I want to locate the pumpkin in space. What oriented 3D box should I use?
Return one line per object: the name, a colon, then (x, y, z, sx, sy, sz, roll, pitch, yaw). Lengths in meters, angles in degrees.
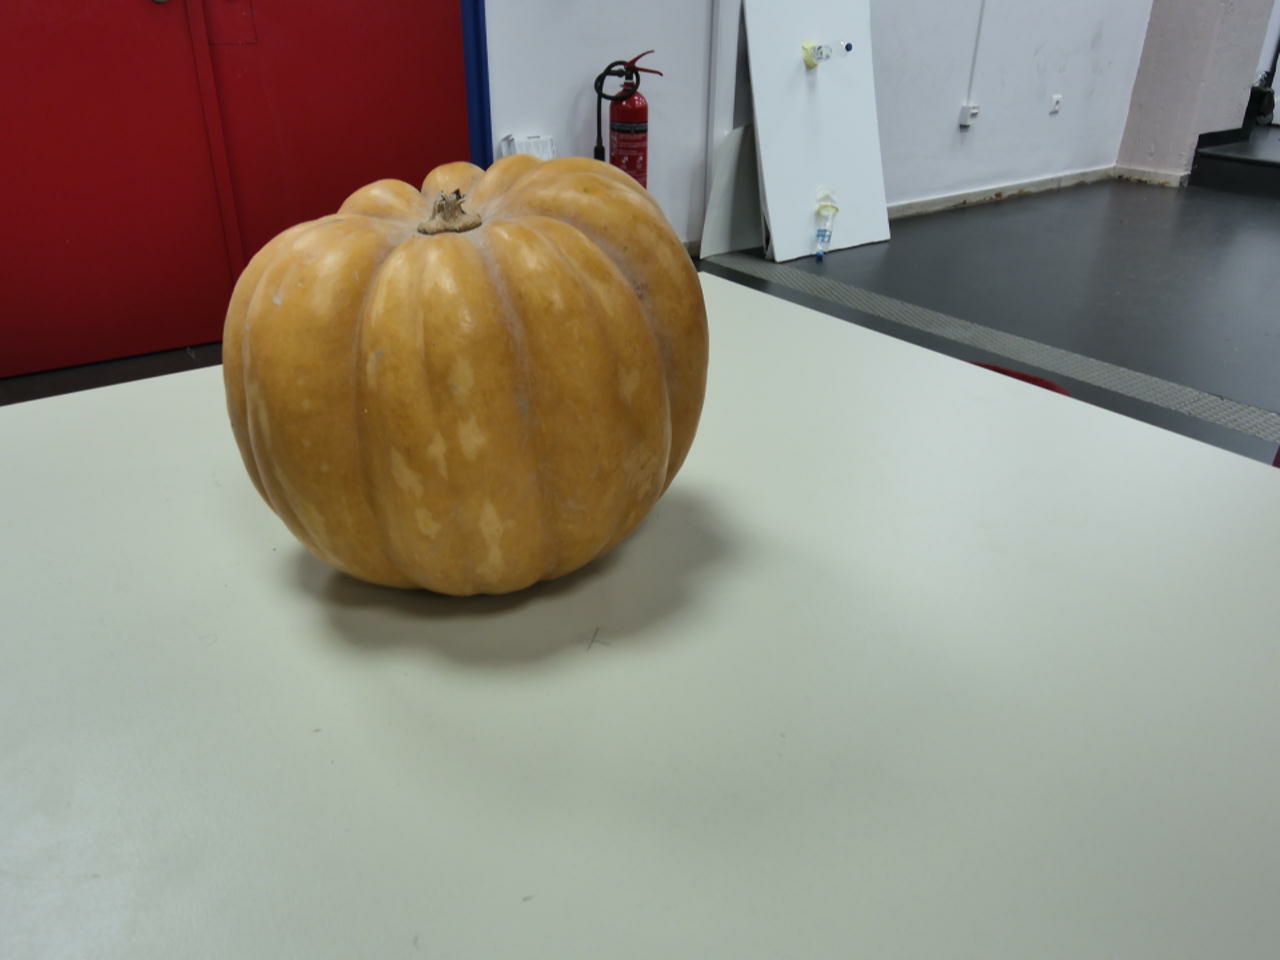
pumpkin: (-0.078, -0.051, 0.483, 0.230, 0.194, 0.230, 0, 26, 0)
